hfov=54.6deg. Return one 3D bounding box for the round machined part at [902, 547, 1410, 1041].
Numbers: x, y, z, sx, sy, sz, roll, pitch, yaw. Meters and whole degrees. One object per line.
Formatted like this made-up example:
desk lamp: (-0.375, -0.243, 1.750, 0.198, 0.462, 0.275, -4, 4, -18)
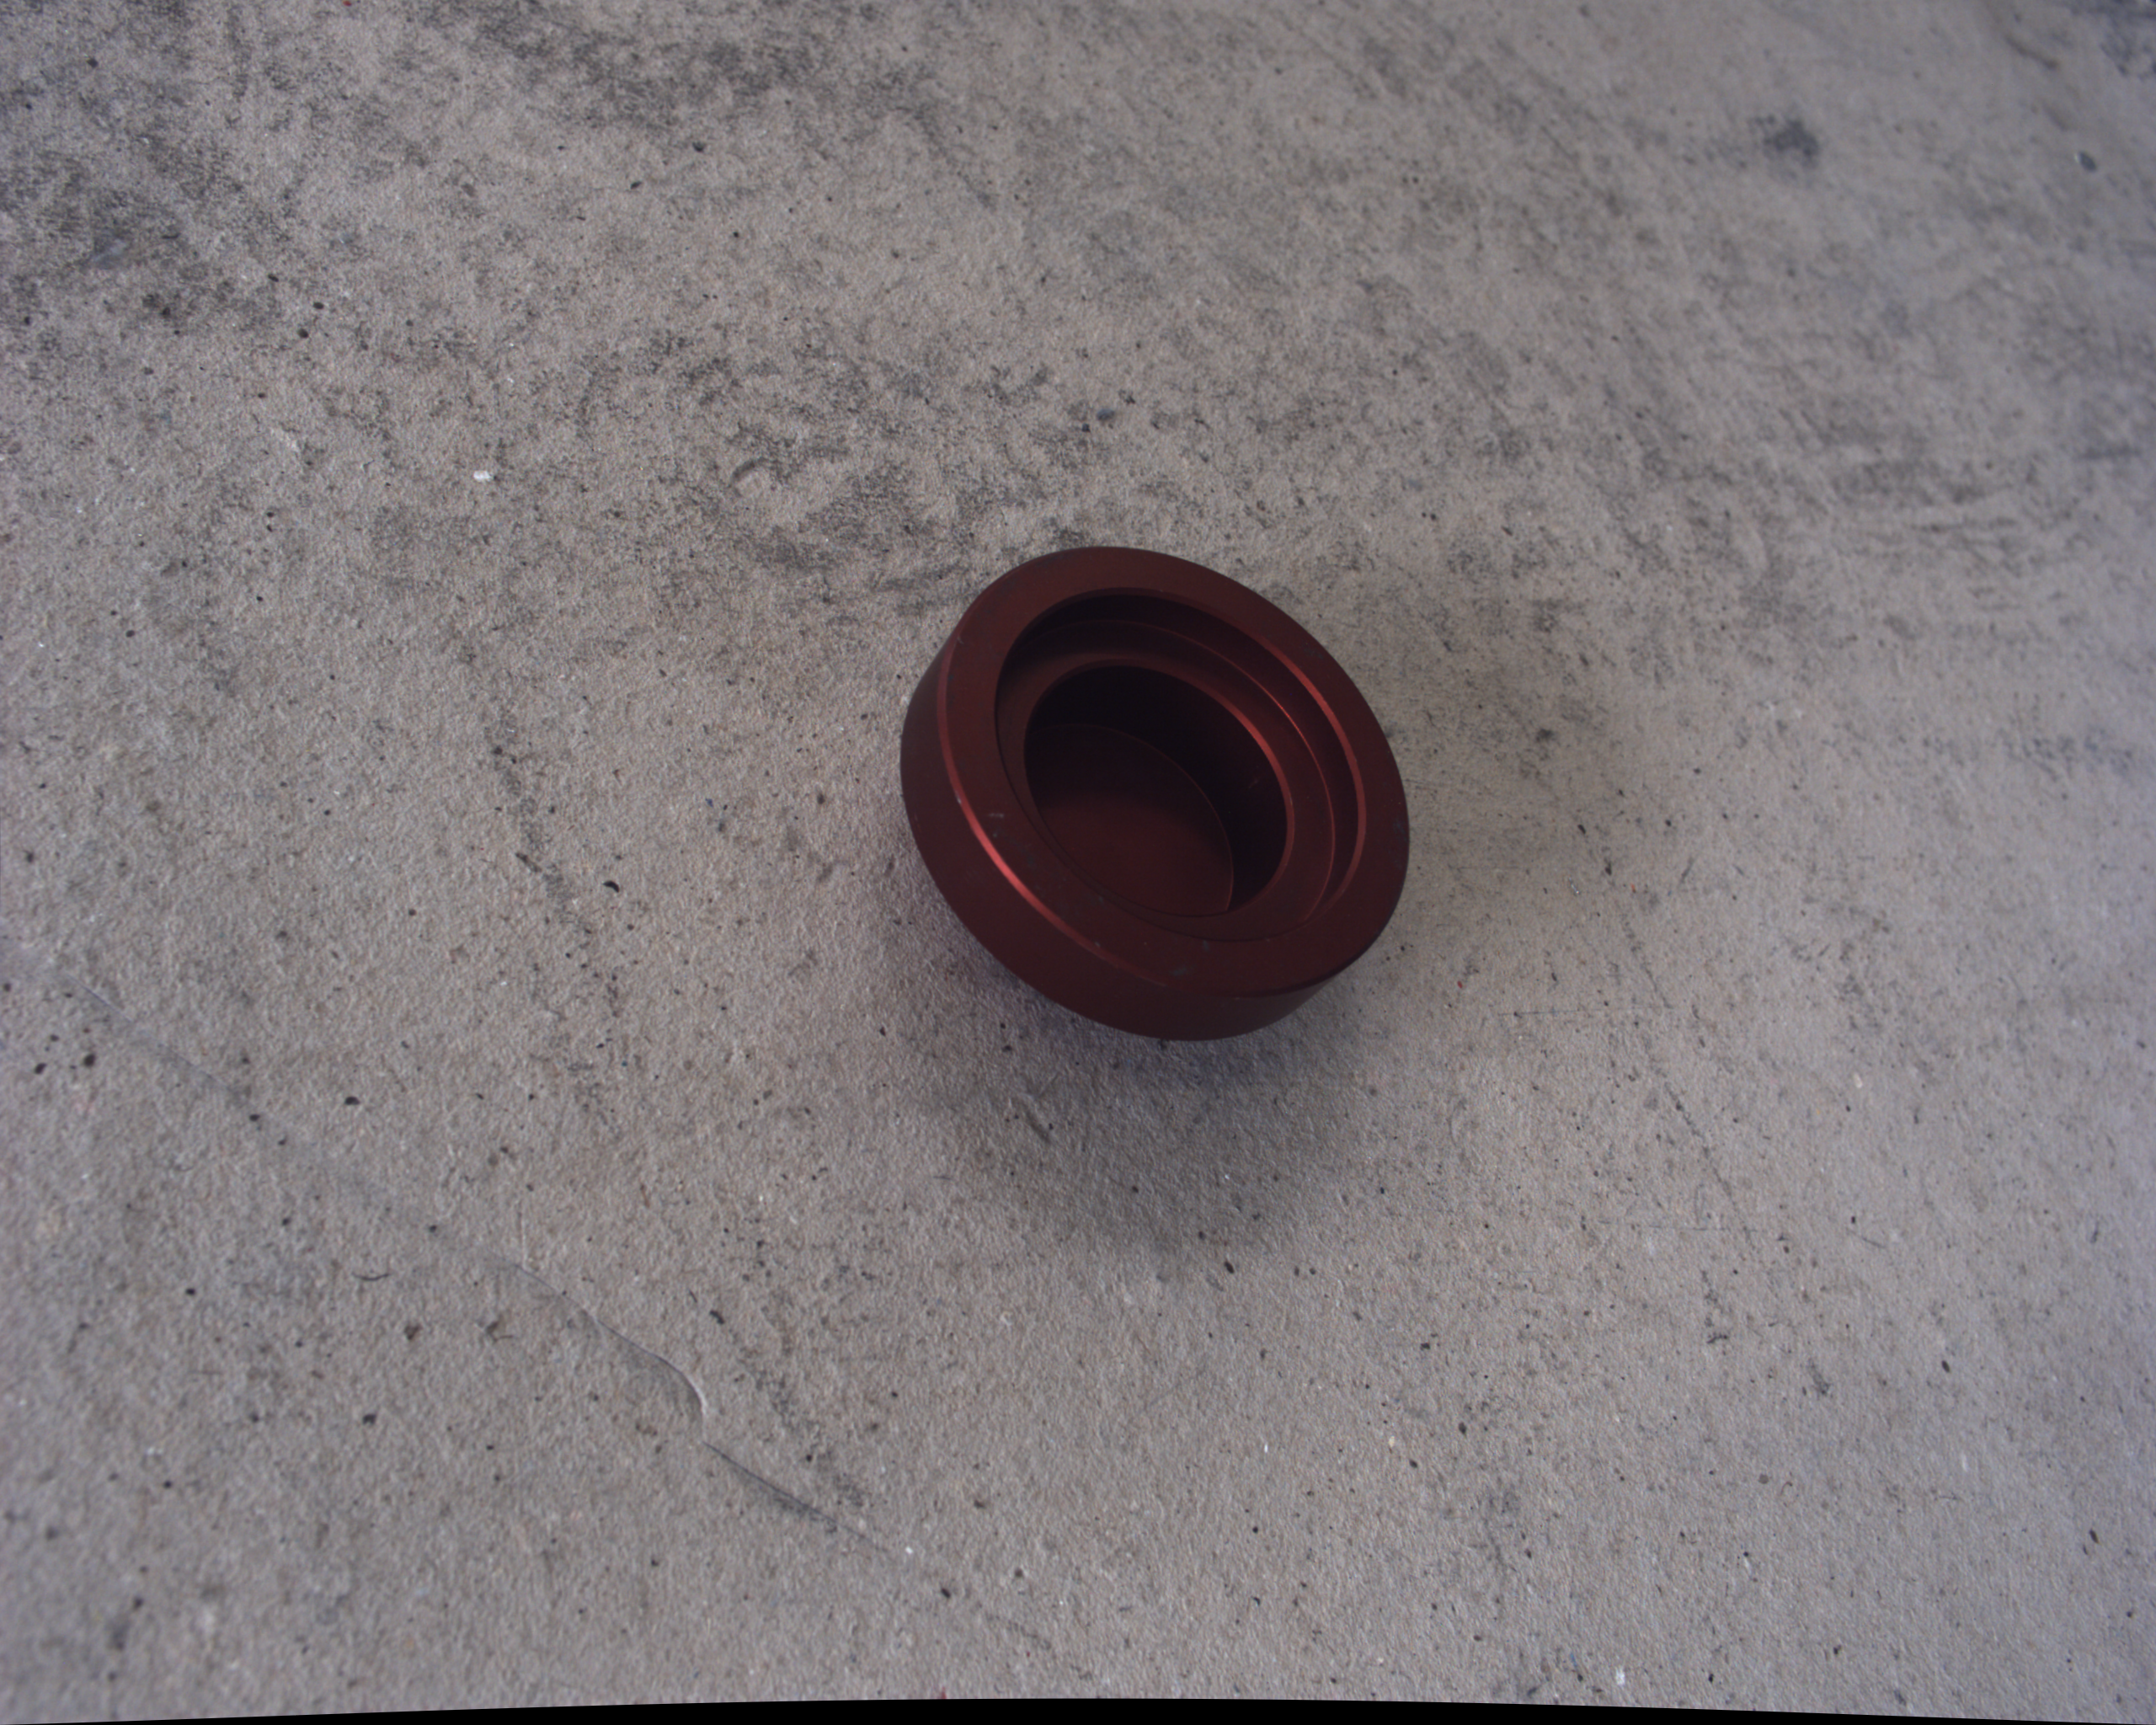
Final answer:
round machined part: (0.012, -0.010, 0.406, 0.099, 0.042, 0.098, 13, 56, -21)
